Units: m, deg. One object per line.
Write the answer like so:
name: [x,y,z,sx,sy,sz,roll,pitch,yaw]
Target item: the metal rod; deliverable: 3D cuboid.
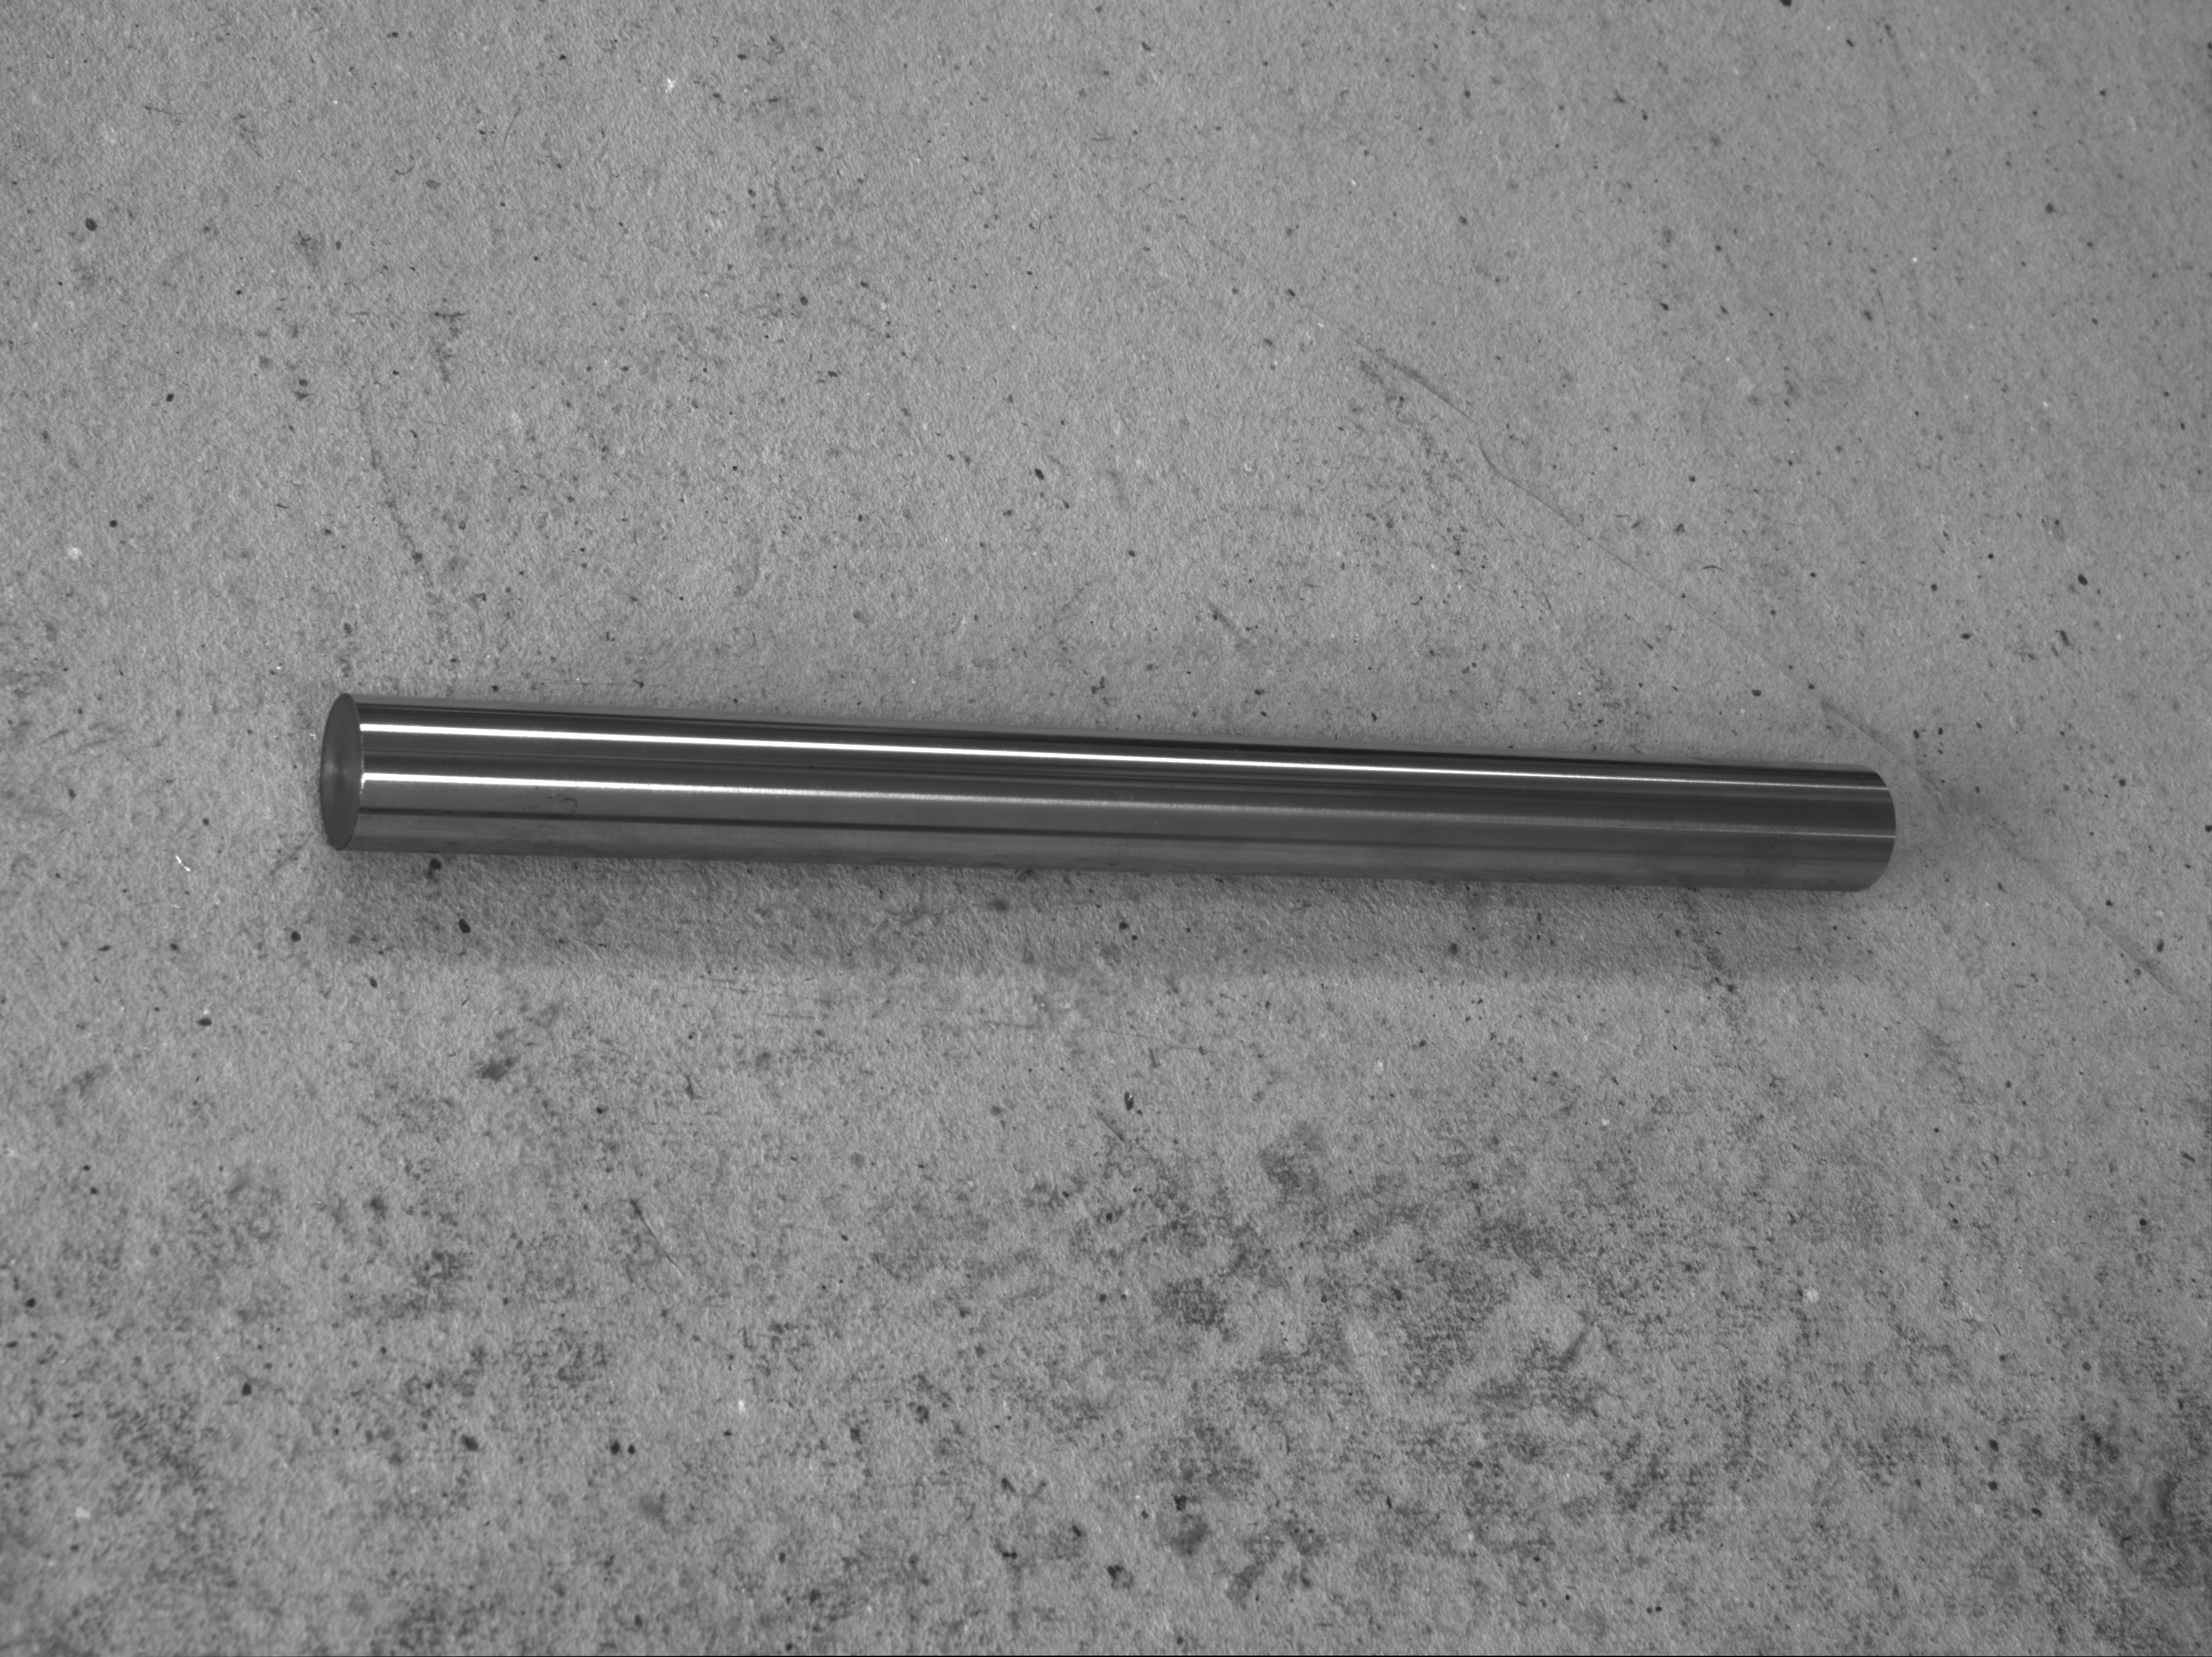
metal rod: [0.012,-0.004,0.649,0.301,0.025,0.025,2,61,-27]
